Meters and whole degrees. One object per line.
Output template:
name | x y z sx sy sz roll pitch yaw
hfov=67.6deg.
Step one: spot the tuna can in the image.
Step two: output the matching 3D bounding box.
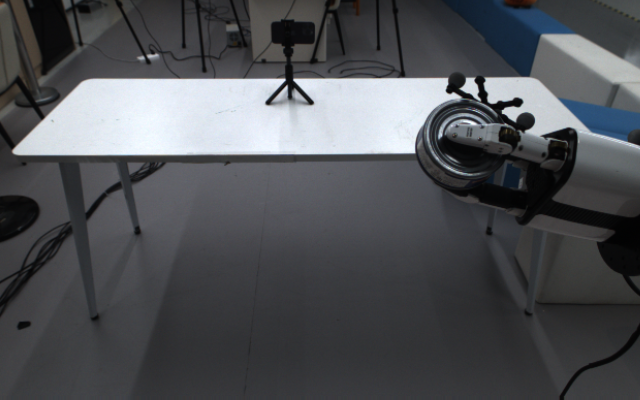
tuna can | 0.145 -0.050 0.477 0.085 0.034 0.085 0 74 -1
